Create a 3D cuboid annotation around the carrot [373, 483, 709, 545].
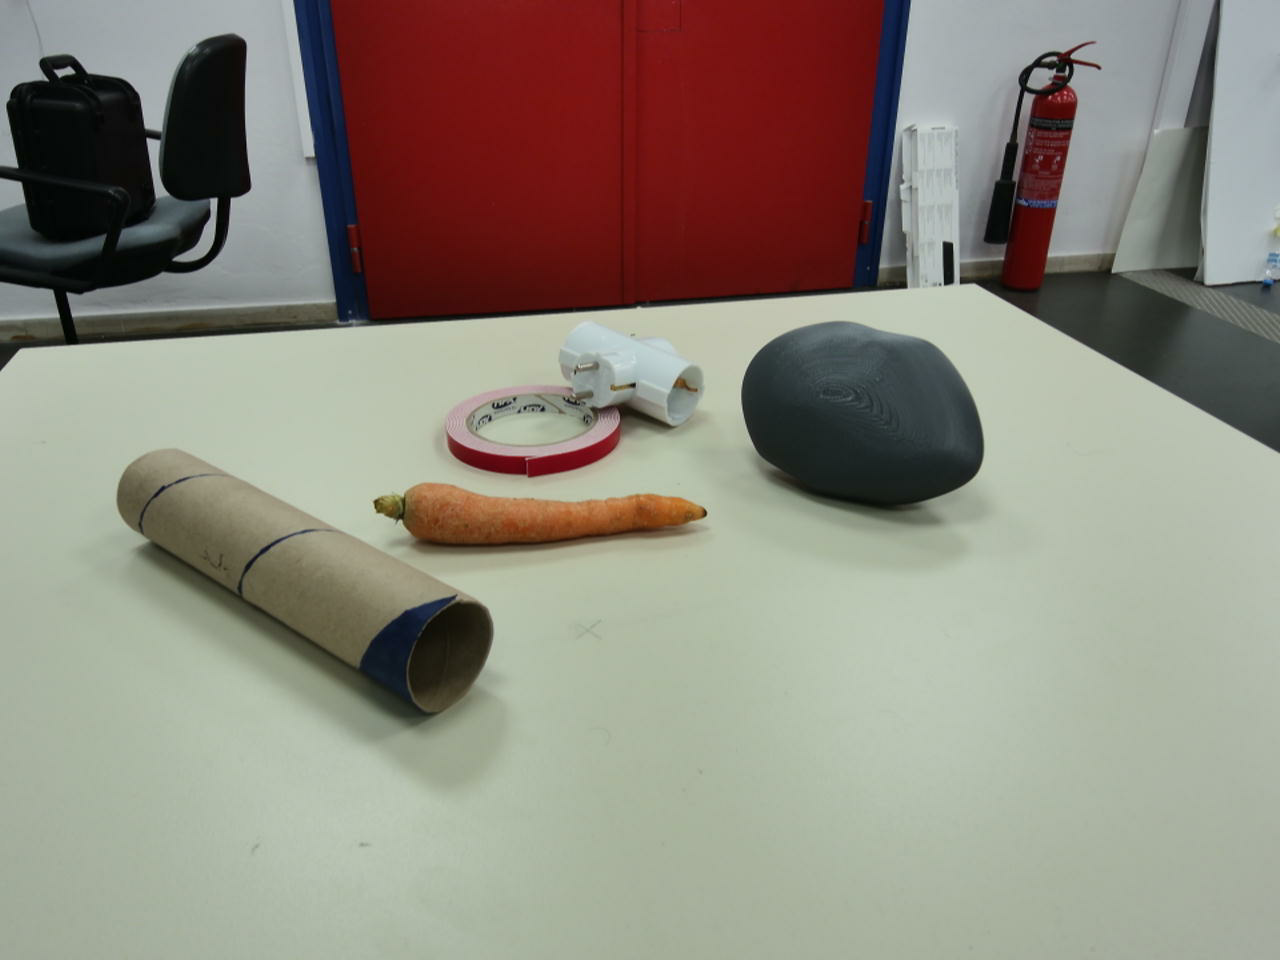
[{"bbox_3d":[-0.047,0.016,0.512,0.173,0.032,0.030,-1,26,-3],"label":"carrot"}]
